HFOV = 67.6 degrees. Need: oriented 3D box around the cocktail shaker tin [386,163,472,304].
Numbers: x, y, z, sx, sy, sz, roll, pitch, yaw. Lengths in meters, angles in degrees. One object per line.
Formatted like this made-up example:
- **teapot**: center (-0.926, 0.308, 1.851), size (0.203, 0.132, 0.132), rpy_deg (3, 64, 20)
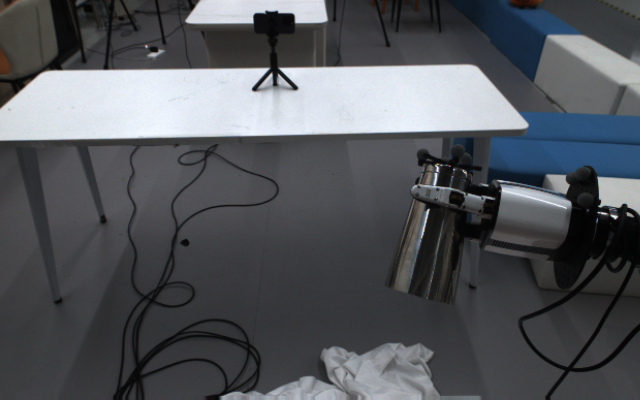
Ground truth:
- **cocktail shaker tin**: center (0.153, 0.040, 0.645), size (0.093, 0.170, 0.093), rpy_deg (14, -5, 1)
